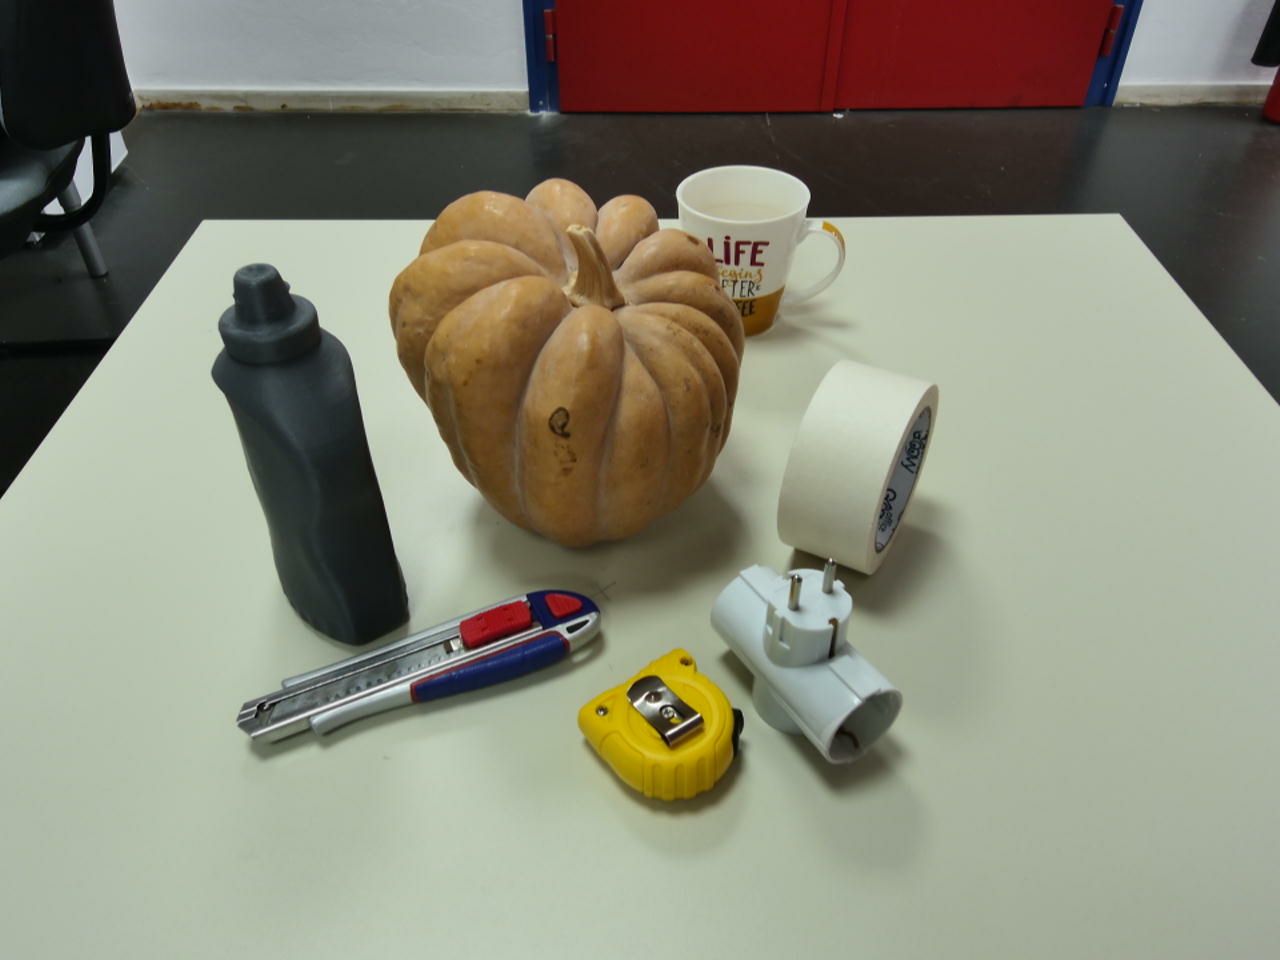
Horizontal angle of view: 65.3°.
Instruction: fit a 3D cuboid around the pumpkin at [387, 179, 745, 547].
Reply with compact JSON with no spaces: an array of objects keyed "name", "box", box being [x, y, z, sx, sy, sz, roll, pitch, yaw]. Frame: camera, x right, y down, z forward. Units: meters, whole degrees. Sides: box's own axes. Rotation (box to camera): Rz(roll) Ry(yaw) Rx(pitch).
[{"name":"pumpkin","box":[-0.037,-0.063,0.552,0.199,0.177,0.198,0,39,0]}]
